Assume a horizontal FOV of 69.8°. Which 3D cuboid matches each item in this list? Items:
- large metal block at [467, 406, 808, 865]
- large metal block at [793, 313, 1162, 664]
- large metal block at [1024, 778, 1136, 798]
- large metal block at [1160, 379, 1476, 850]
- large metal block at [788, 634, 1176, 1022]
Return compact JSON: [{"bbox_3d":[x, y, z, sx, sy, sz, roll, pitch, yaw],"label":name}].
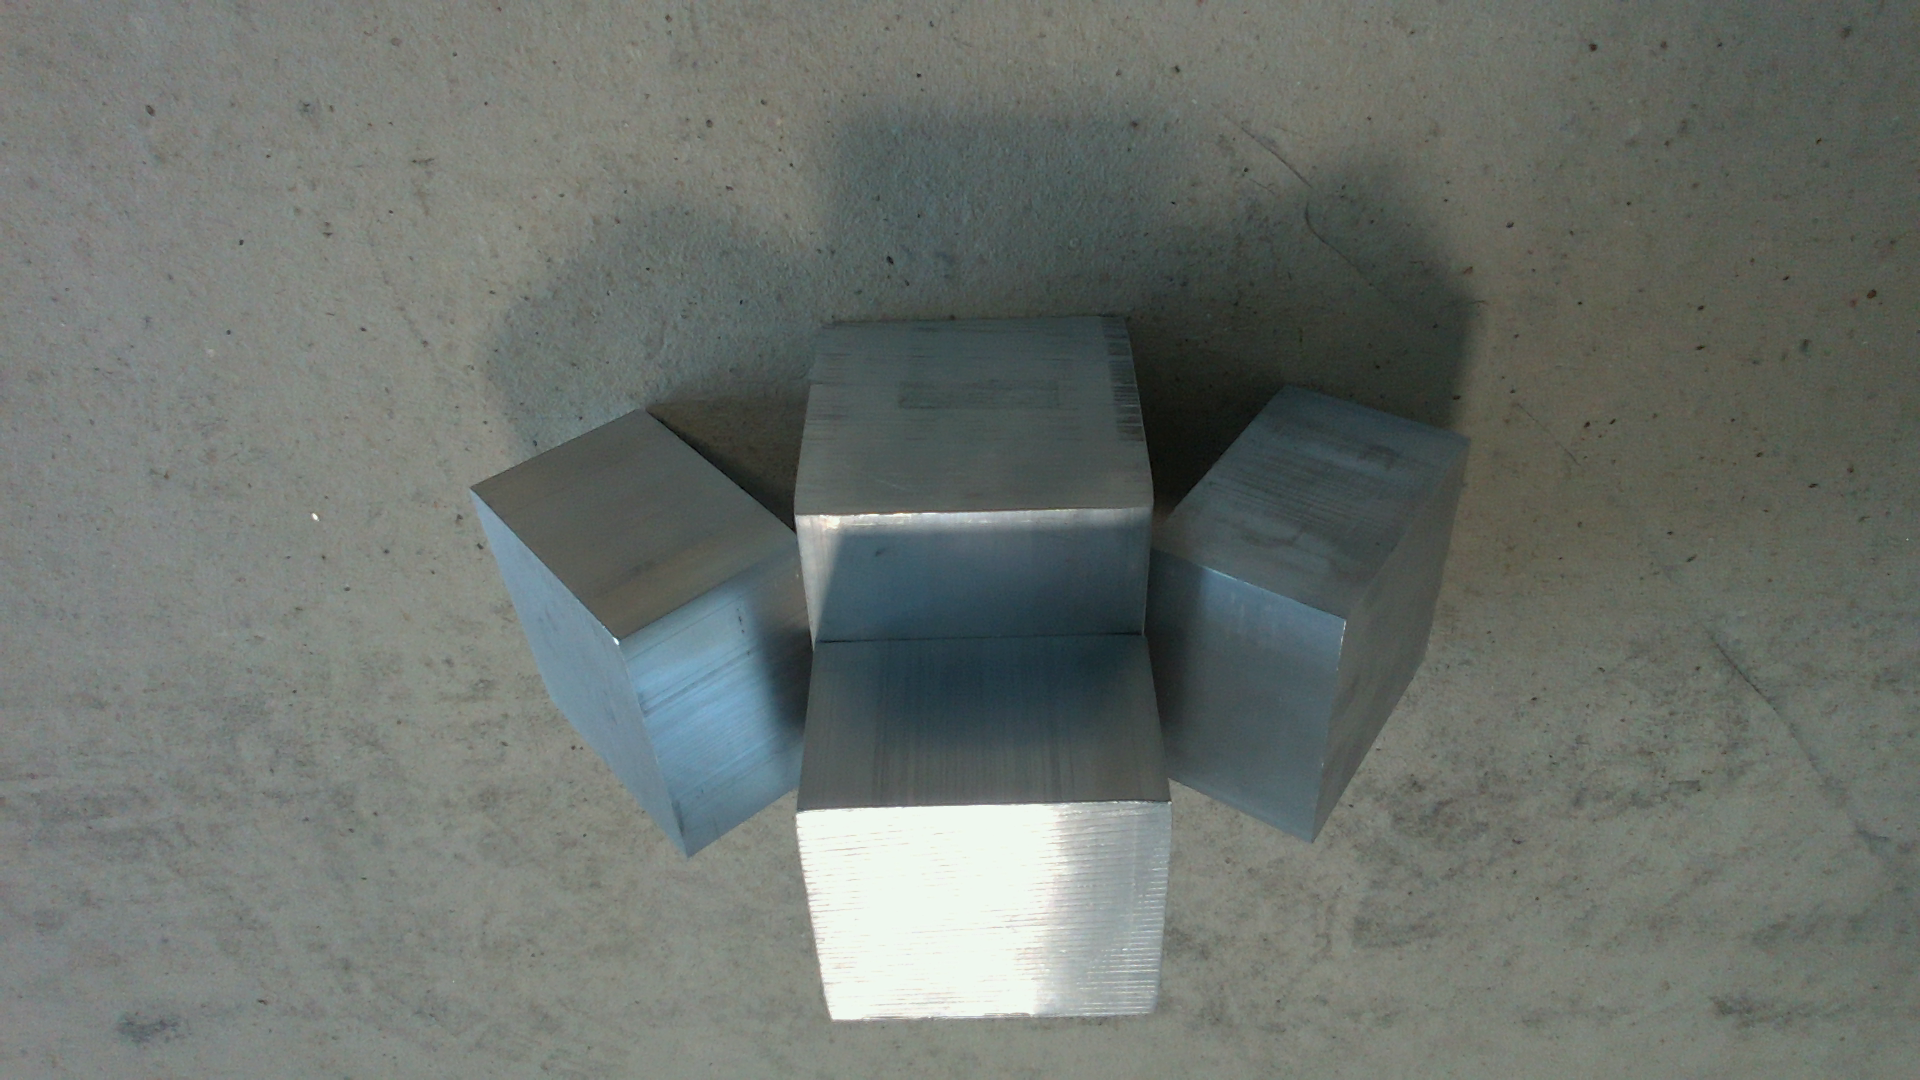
[{"bbox_3d":[-0.079,0.024,0.365,0.050,0.080,0.080,-30,136,-27],"label":"large metal block"},{"bbox_3d":[0.004,-0.013,0.344,0.080,0.080,0.050,-2,130,1],"label":"large metal block"},{"bbox_3d":[0.009,0.056,0.404,0.080,0.080,0.050,-3,130,3],"label":"large metal block"},{"bbox_3d":[0.090,0.018,0.360,0.050,0.080,0.080,22,137,28],"label":"large metal block"},{"bbox_3d":[0.006,0.070,0.329,0.080,0.050,0.080,-2,130,1],"label":"large metal block"}]
